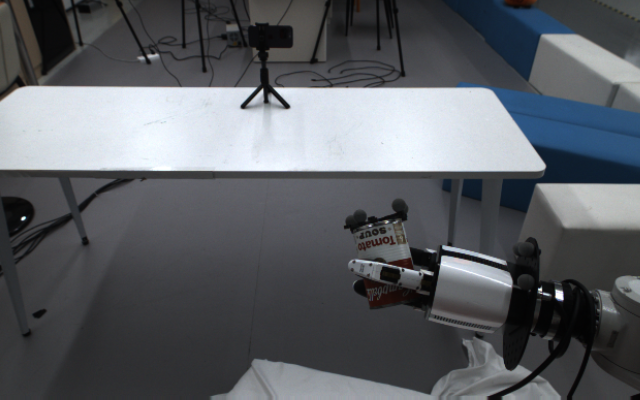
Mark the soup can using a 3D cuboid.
[{"bbox_3d":[0.088,0.079,0.614,0.067,0.067,0.101,-11,80,-19],"label":"soup can"}]
